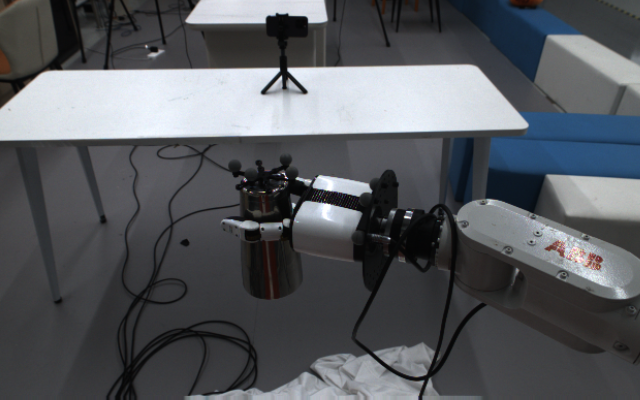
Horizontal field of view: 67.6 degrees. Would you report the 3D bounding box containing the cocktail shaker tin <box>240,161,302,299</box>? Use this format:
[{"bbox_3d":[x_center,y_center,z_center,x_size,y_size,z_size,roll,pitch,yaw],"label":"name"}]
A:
[{"bbox_3d":[-0.070,0.045,0.693,0.093,0.170,0.093,-1,32,1],"label":"cocktail shaker tin"}]
